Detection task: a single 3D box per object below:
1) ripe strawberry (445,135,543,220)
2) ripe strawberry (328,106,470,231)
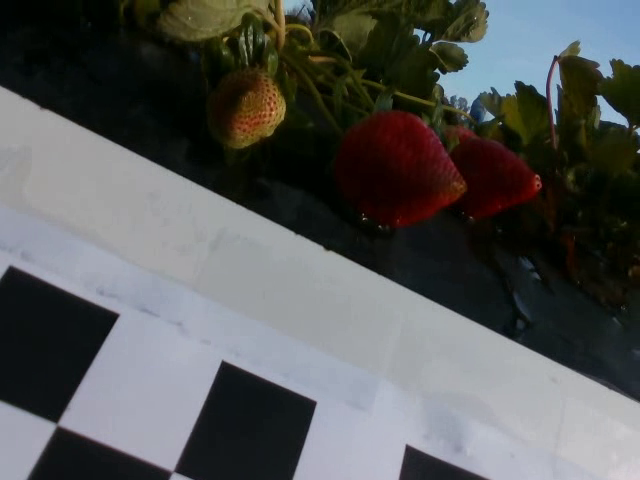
[{"bbox_3d":[0.085,-0.029,0.296,0.055,0.042,0.044,14,43,45],"label":"ripe strawberry"},{"bbox_3d":[0.034,-0.029,0.227,0.050,0.050,0.065,-13,17,-26],"label":"ripe strawberry"}]
